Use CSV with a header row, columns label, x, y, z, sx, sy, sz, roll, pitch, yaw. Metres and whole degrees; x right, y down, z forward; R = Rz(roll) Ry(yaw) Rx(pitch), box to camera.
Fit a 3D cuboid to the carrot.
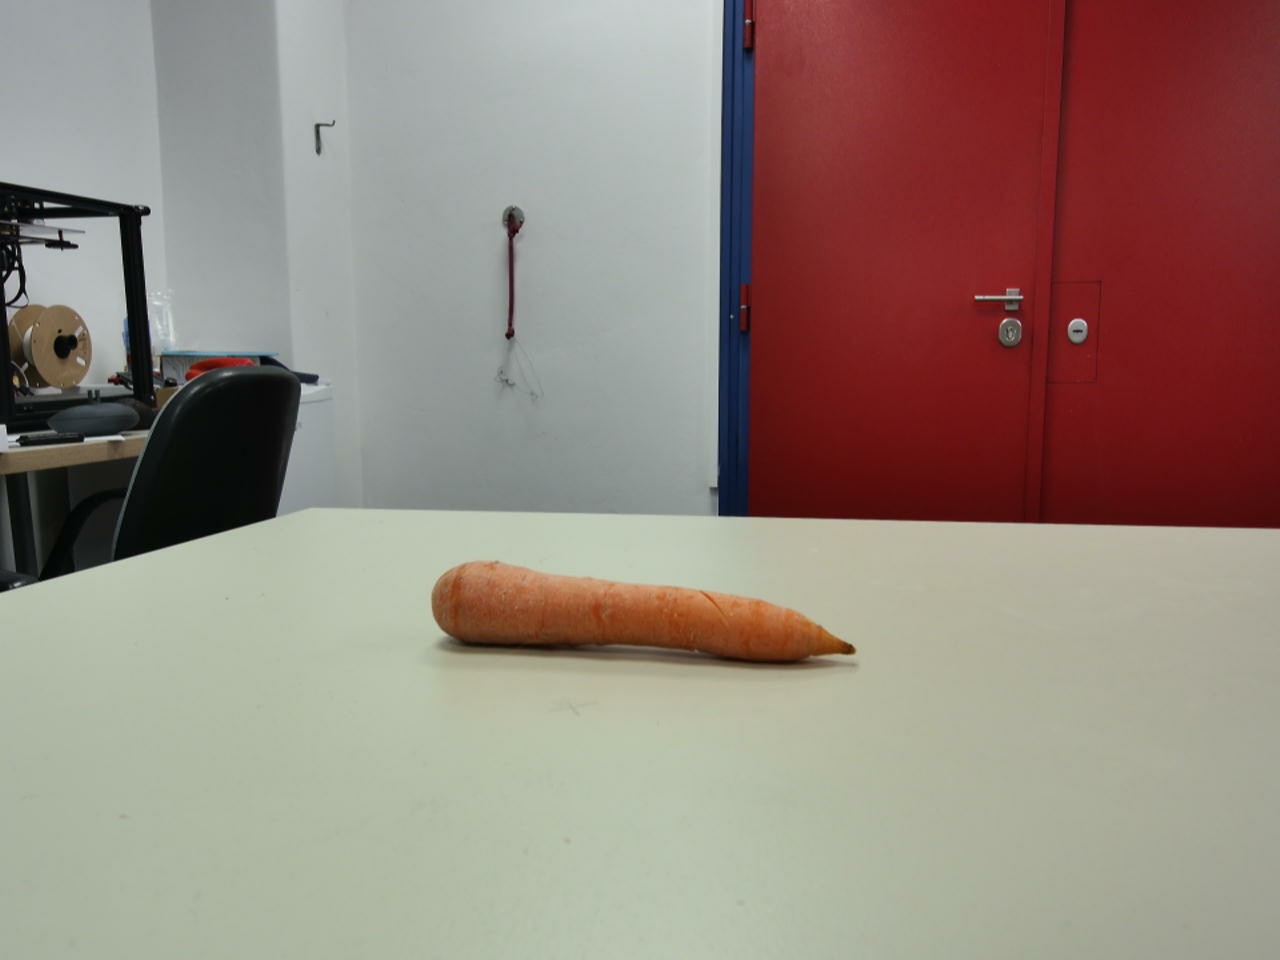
label,x,y,z,sx,sy,sz,roll,pitch,yaw
carrot,-0.003,0.059,0.461,0.196,0.041,0.039,1,5,12
